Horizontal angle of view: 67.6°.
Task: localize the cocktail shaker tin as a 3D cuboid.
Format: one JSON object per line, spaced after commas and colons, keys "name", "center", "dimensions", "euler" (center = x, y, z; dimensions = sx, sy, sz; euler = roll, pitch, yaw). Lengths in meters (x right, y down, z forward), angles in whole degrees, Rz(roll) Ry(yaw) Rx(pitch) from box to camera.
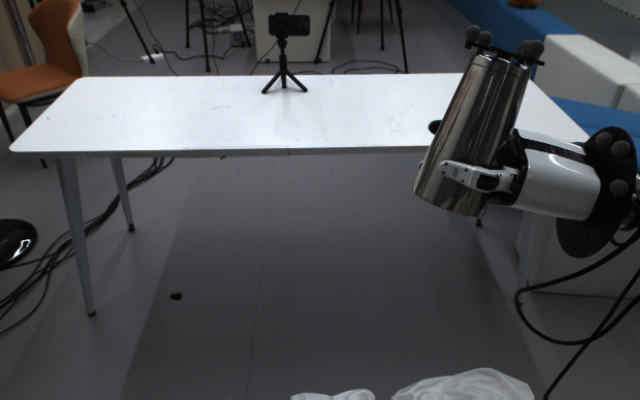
{"name": "cocktail shaker tin", "center": [0.180, -0.077, 0.565], "dimensions": [0.093, 0.170, 0.093], "euler": [14, 20, -5]}
